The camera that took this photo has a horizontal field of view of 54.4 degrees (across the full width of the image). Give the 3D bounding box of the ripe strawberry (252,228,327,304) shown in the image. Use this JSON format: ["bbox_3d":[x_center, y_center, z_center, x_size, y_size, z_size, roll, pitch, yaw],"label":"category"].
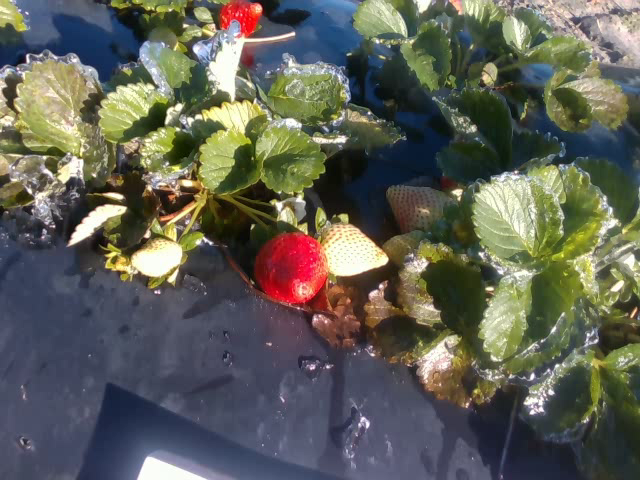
[{"bbox_3d":[-0.012,0.017,0.289,0.040,0.042,0.053,-16,18,-4],"label":"ripe strawberry"}]
